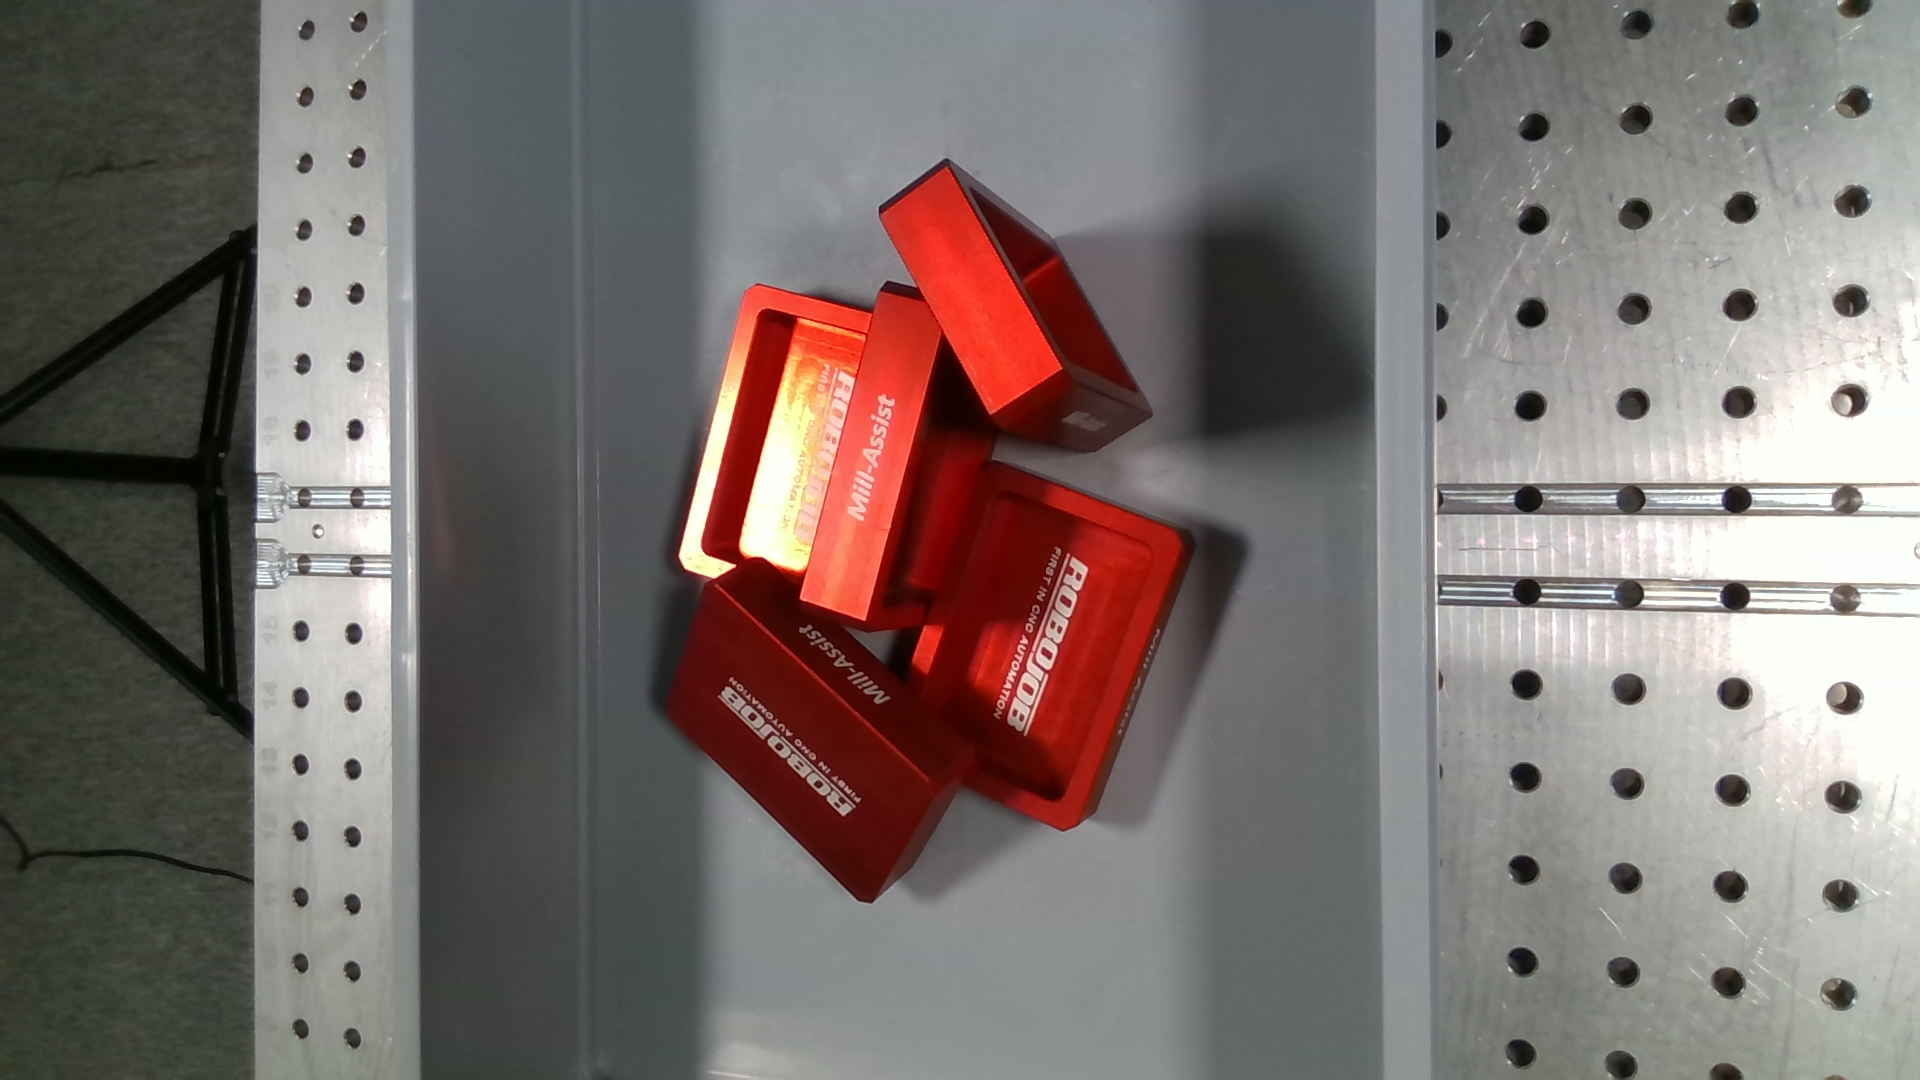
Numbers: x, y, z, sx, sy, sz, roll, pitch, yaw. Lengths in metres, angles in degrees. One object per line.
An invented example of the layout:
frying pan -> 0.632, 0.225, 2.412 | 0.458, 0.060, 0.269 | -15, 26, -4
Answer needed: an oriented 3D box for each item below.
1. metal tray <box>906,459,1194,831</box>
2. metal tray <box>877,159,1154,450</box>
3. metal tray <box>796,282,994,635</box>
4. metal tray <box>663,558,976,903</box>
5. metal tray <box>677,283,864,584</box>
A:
metal tray -> 0.033, 0.042, 0.570 | 0.090, 0.030, 0.130 | 22, 98, 19
metal tray -> 0.025, -0.083, 0.517 | 0.030, 0.130, 0.090 | -32, 79, 18
metal tray -> -0.019, -0.031, 0.555 | 0.030, 0.090, 0.130 | 17, 96, 19
metal tray -> -0.063, 0.081, 0.585 | 0.130, 0.030, 0.090 | 40, 132, 16
metal tray -> -0.065, -0.038, 0.604 | 0.090, 0.030, 0.130 | 17, 96, 19
